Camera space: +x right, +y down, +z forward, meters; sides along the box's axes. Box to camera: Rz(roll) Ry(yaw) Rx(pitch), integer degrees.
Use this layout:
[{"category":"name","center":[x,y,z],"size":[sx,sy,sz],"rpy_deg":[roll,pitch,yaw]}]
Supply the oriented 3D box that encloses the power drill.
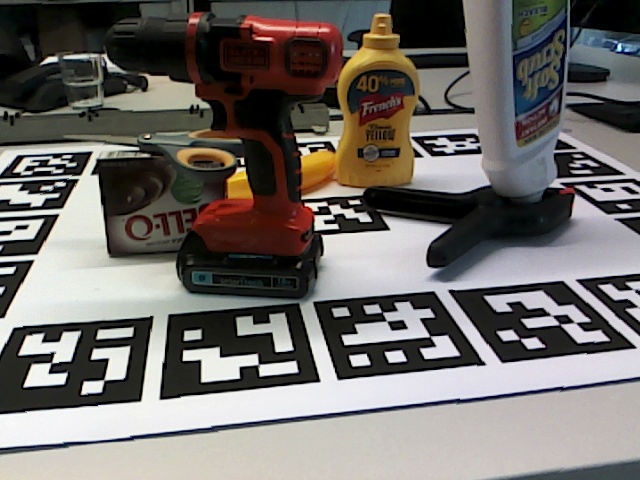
[{"category":"power drill","center":[-0.075,-0.076,0.491],"size":[0.185,0.186,0.057],"rpy_deg":[0,19,5]}]

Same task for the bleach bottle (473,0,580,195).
[{"category":"bleach bottle","center":[0.200,-0.143,0.597],"size":[0.102,0.250,0.068],"rpy_deg":[-19,28,-21]}]

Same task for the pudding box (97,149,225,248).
[{"category":"pudding box","center":[-0.147,-0.040,0.591],"size":[0.114,0.090,0.039],"rpy_deg":[-1,19,-5]}]

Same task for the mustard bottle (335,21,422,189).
[{"category":"mustard bottle","center":[0.069,-0.156,0.727],"size":[0.096,0.191,0.058],"rpy_deg":[4,26,4]}]

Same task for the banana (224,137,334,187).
[{"category":"banana","center":[-0.040,-0.097,0.753],"size":[0.075,0.039,0.196],"rpy_deg":[2,21,44]}]

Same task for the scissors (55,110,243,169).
[{"category":"scissors","center":[-0.157,-0.101,0.568],"size":[0.203,0.016,0.087],"rpy_deg":[12,32,12]}]

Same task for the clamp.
[{"category":"clamp","center":[0.166,-0.040,0.624],"size":[0.202,0.036,0.166],"rpy_deg":[-5,29,-15]}]
